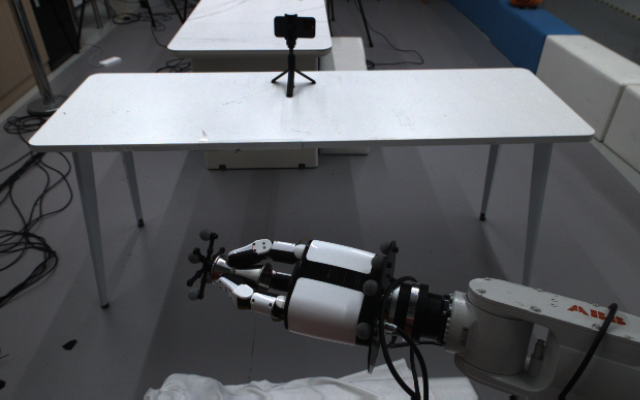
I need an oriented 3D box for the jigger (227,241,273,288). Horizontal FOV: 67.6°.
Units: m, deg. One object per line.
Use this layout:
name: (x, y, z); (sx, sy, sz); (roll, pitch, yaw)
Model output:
jigger: (-0.095, 0.095, 0.628); (0.071, 0.043, 0.043); (11, 36, 15)
